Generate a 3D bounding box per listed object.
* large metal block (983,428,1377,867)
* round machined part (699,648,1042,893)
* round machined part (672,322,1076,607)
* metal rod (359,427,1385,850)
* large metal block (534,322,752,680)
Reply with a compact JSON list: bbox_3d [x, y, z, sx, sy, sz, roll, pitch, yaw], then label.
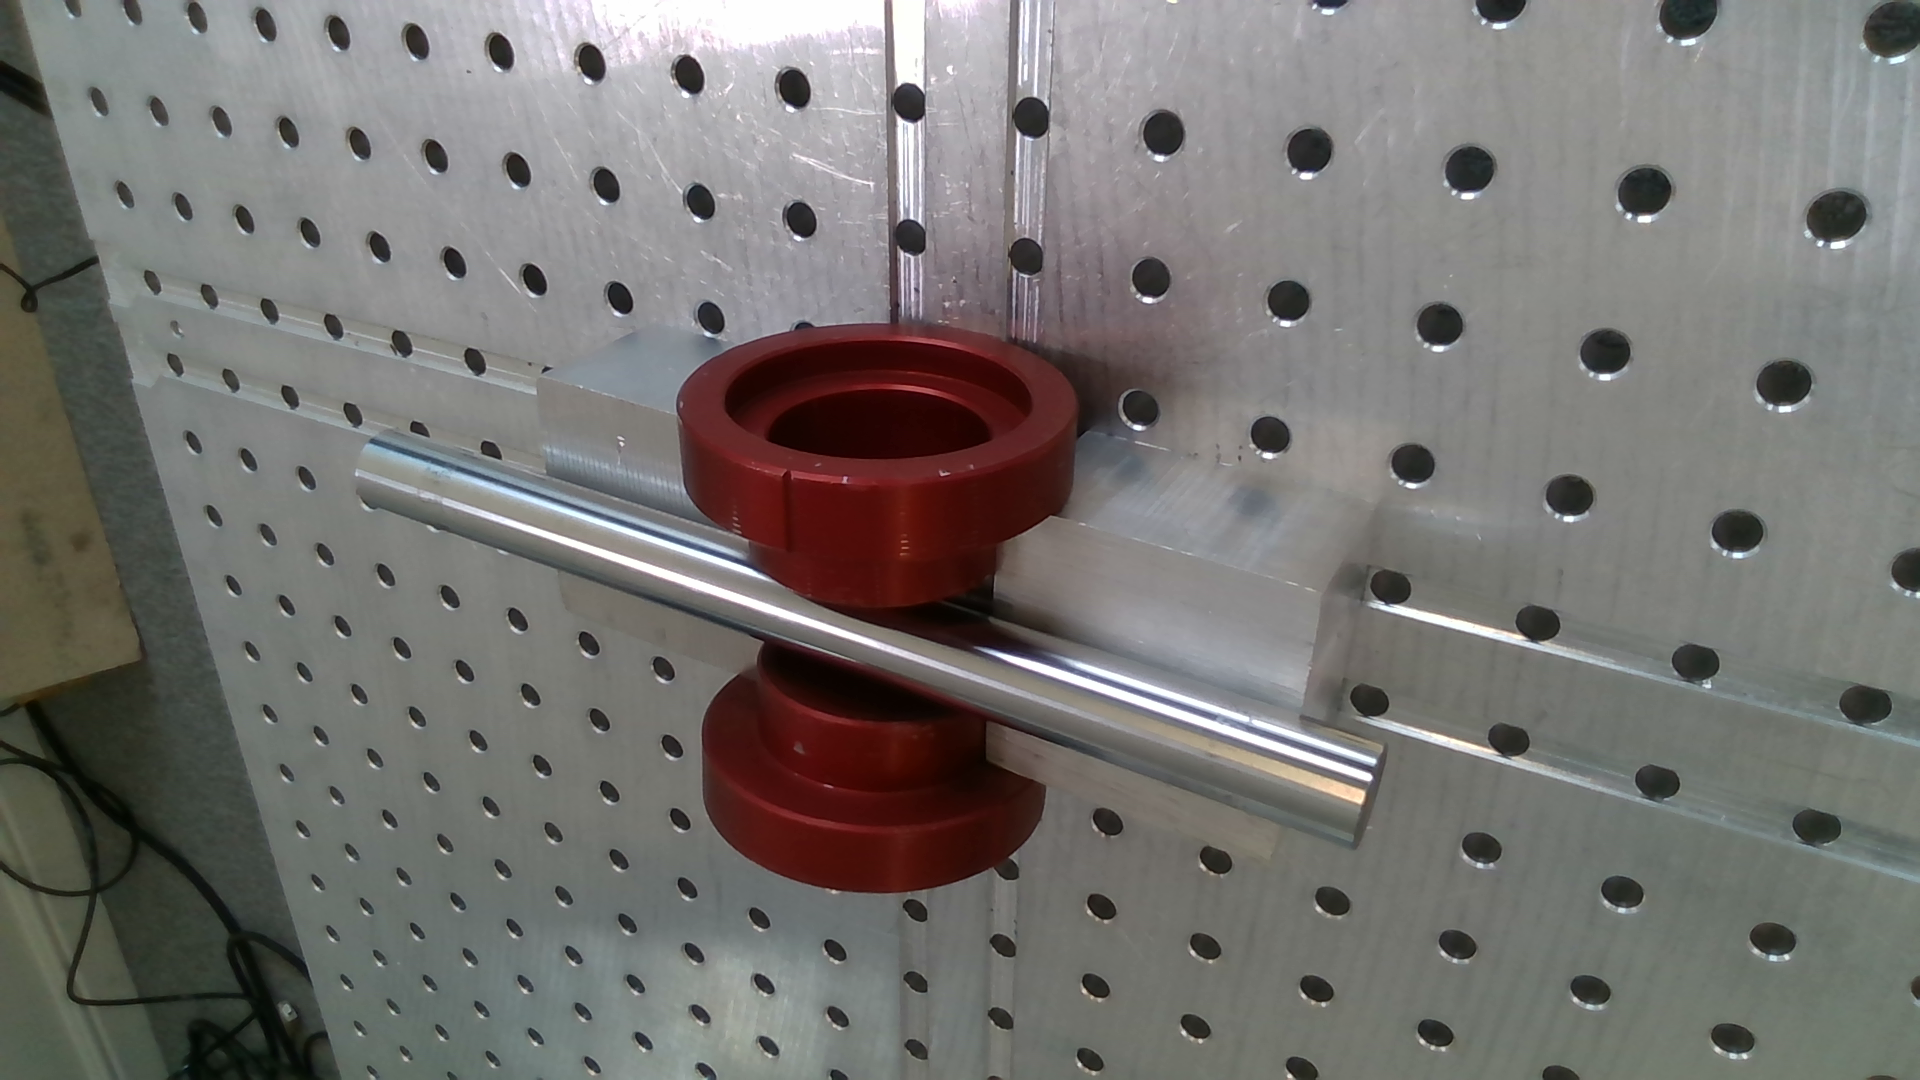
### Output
[{"bbox_3d":[0.055,0.025,0.356,0.080,0.050,0.080,16,123,24],"label":"large metal block"},{"bbox_3d":[-0.023,0.051,0.387,0.098,0.098,0.042,16,117,24],"label":"round machined part"},{"bbox_3d":[-0.021,-0.018,0.347,0.098,0.098,0.042,16,122,24],"label":"round machined part"},{"bbox_3d":[-0.042,0.017,0.362,0.300,0.025,0.025,17,123,24],"label":"metal rod"},{"bbox_3d":[-0.076,-0.013,0.415,0.080,0.050,0.080,17,123,23],"label":"large metal block"}]
